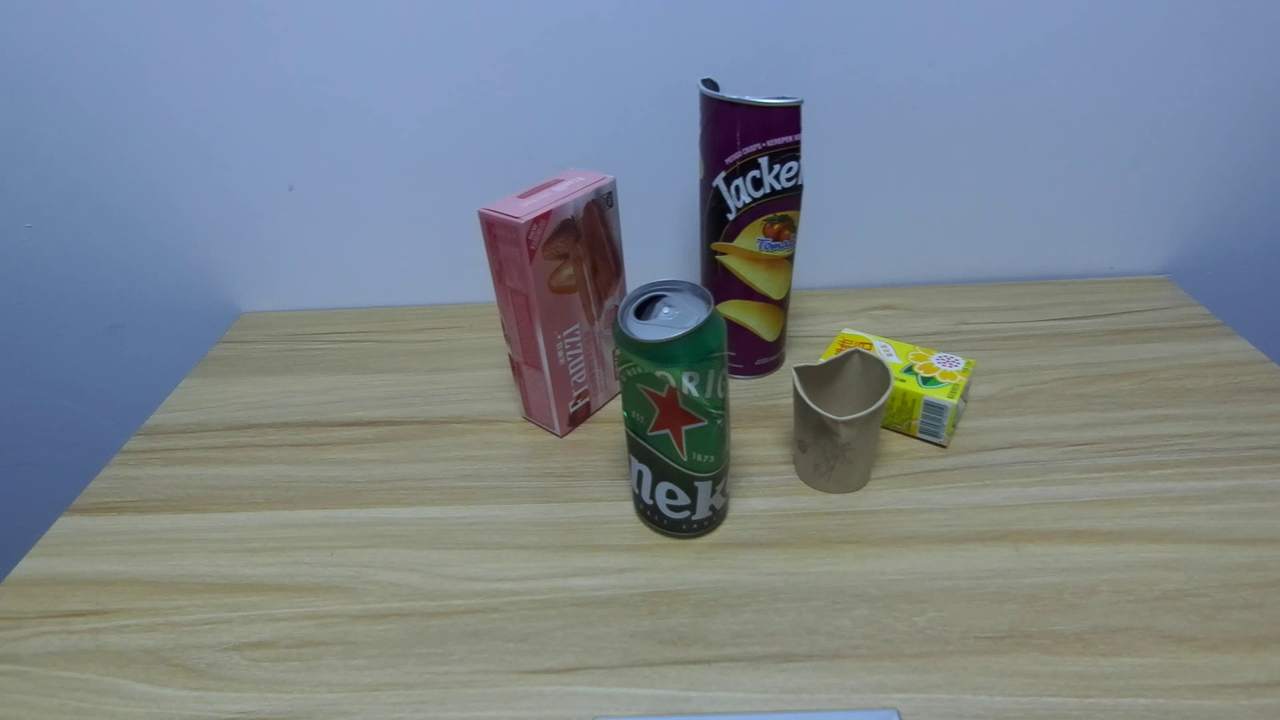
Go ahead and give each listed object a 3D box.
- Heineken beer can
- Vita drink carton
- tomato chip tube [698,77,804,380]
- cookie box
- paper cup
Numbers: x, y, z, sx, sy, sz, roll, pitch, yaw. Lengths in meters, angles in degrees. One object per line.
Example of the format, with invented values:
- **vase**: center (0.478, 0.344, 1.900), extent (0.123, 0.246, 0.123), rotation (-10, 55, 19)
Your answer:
- **Heineken beer can**: center (0.022, 0.036, 0.447), extent (0.069, 0.169, 0.068), rotation (-4, 36, 5)
- **Vita drink carton**: center (0.200, 0.019, 0.562), extent (0.108, 0.043, 0.067), rotation (18, 38, 28)
- **tomato chip tube**: center (0.088, -0.101, 0.575), extent (0.076, 0.235, 0.077), rotation (-1, 34, 5)
- **cookie box**: center (-0.057, -0.041, 0.550), extent (0.048, 0.185, 0.096), rotation (20, 41, 35)
- **paper cup**: center (0.141, 0.047, 0.491), extent (0.072, 0.084, 0.066), rotation (-16, 36, -16)
